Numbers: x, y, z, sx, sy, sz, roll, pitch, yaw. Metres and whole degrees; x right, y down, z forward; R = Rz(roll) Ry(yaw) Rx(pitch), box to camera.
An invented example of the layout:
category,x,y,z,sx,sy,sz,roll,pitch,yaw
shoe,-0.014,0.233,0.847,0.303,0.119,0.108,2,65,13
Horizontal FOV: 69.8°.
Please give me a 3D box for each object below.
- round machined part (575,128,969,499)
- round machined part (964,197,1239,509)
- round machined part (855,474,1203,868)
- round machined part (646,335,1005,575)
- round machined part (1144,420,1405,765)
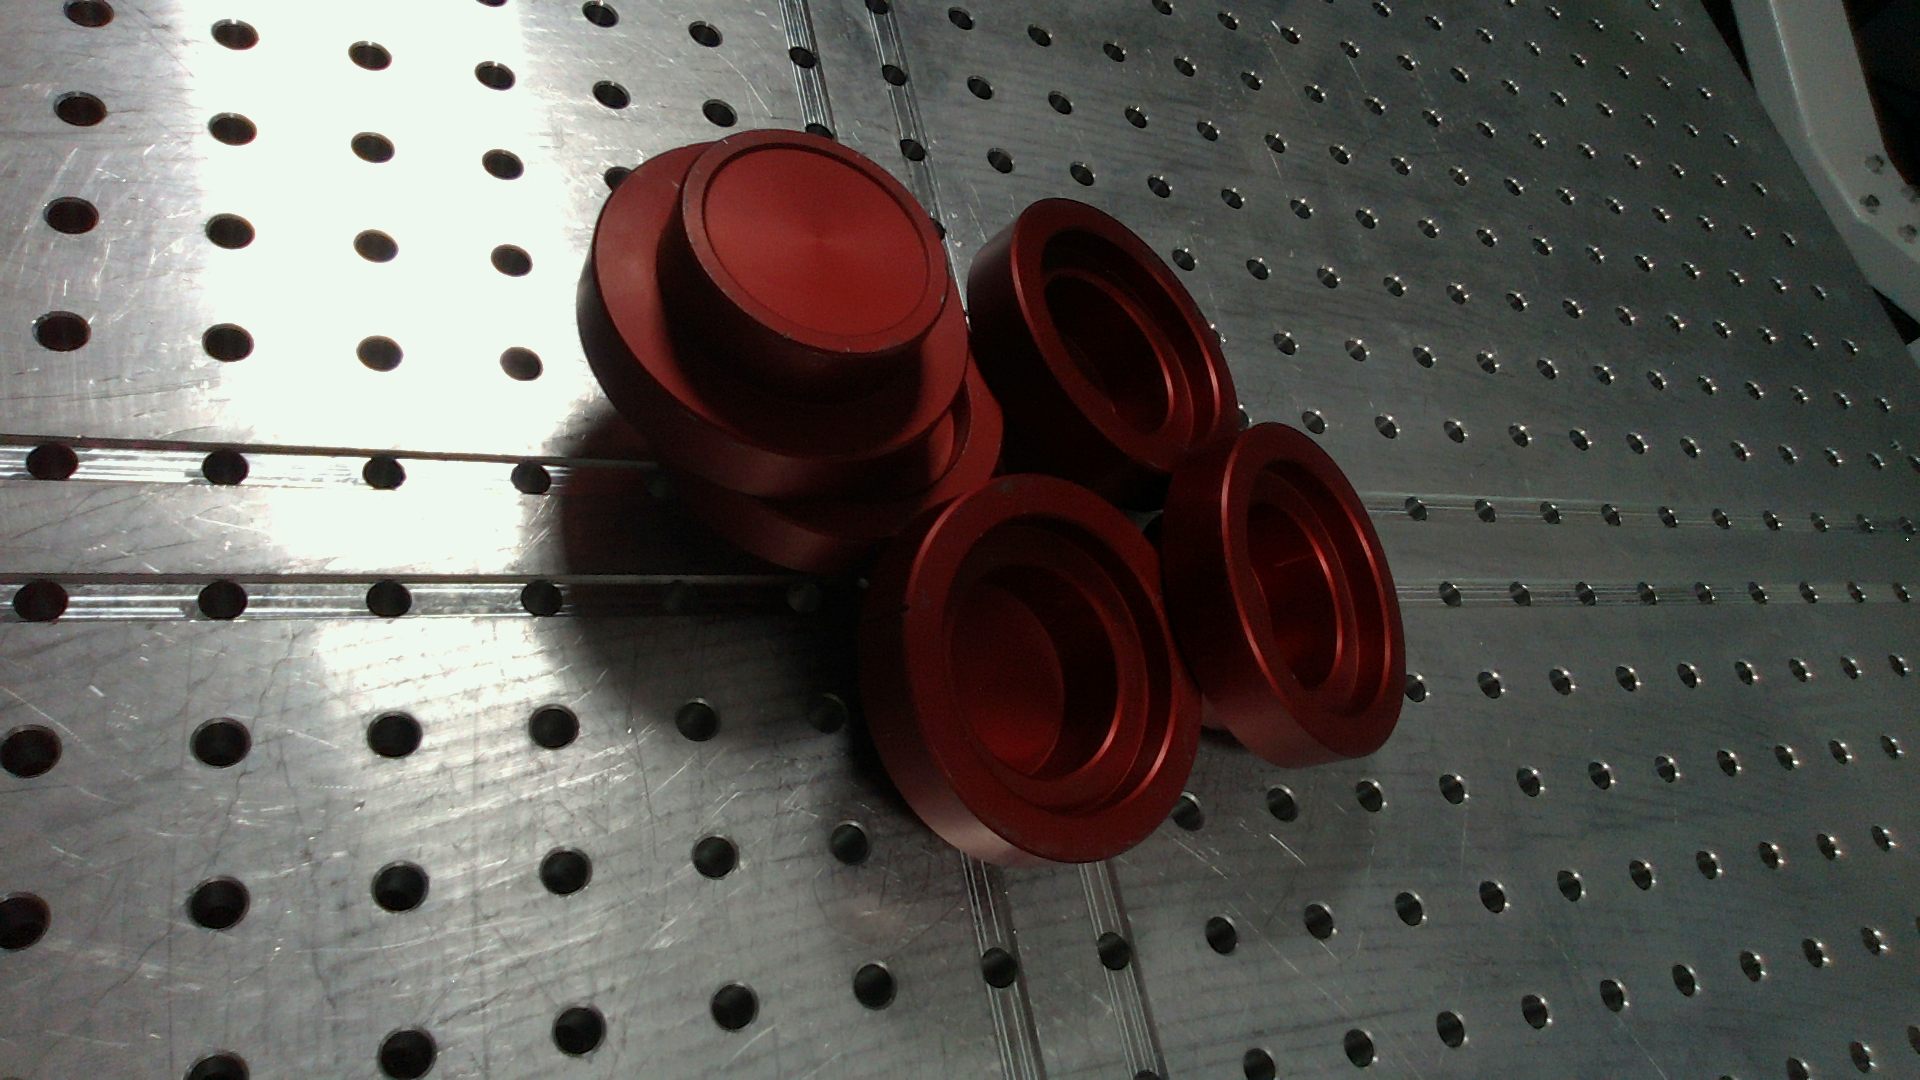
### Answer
category,x,y,z,sx,sy,sz,roll,pitch,yaw
round machined part,-0.042,-0.063,0.343,0.098,0.042,0.098,14,56,-21
round machined part,0.038,-0.052,0.423,0.098,0.042,0.098,26,47,-32
round machined part,0.014,0.036,0.356,0.098,0.042,0.098,13,68,-35
round machined part,-0.041,-0.033,0.380,0.098,0.042,0.098,14,56,-21
round machined part,0.088,0.018,0.403,0.098,0.042,0.098,24,56,-42
